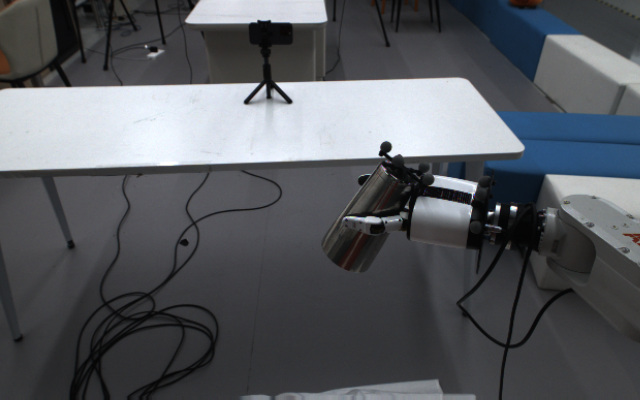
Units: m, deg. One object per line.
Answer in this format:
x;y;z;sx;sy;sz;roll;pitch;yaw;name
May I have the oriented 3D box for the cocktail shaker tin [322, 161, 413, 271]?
0.082;0.019;0.773;0.093;0.170;0.093;25;29;-15;cocktail shaker tin
